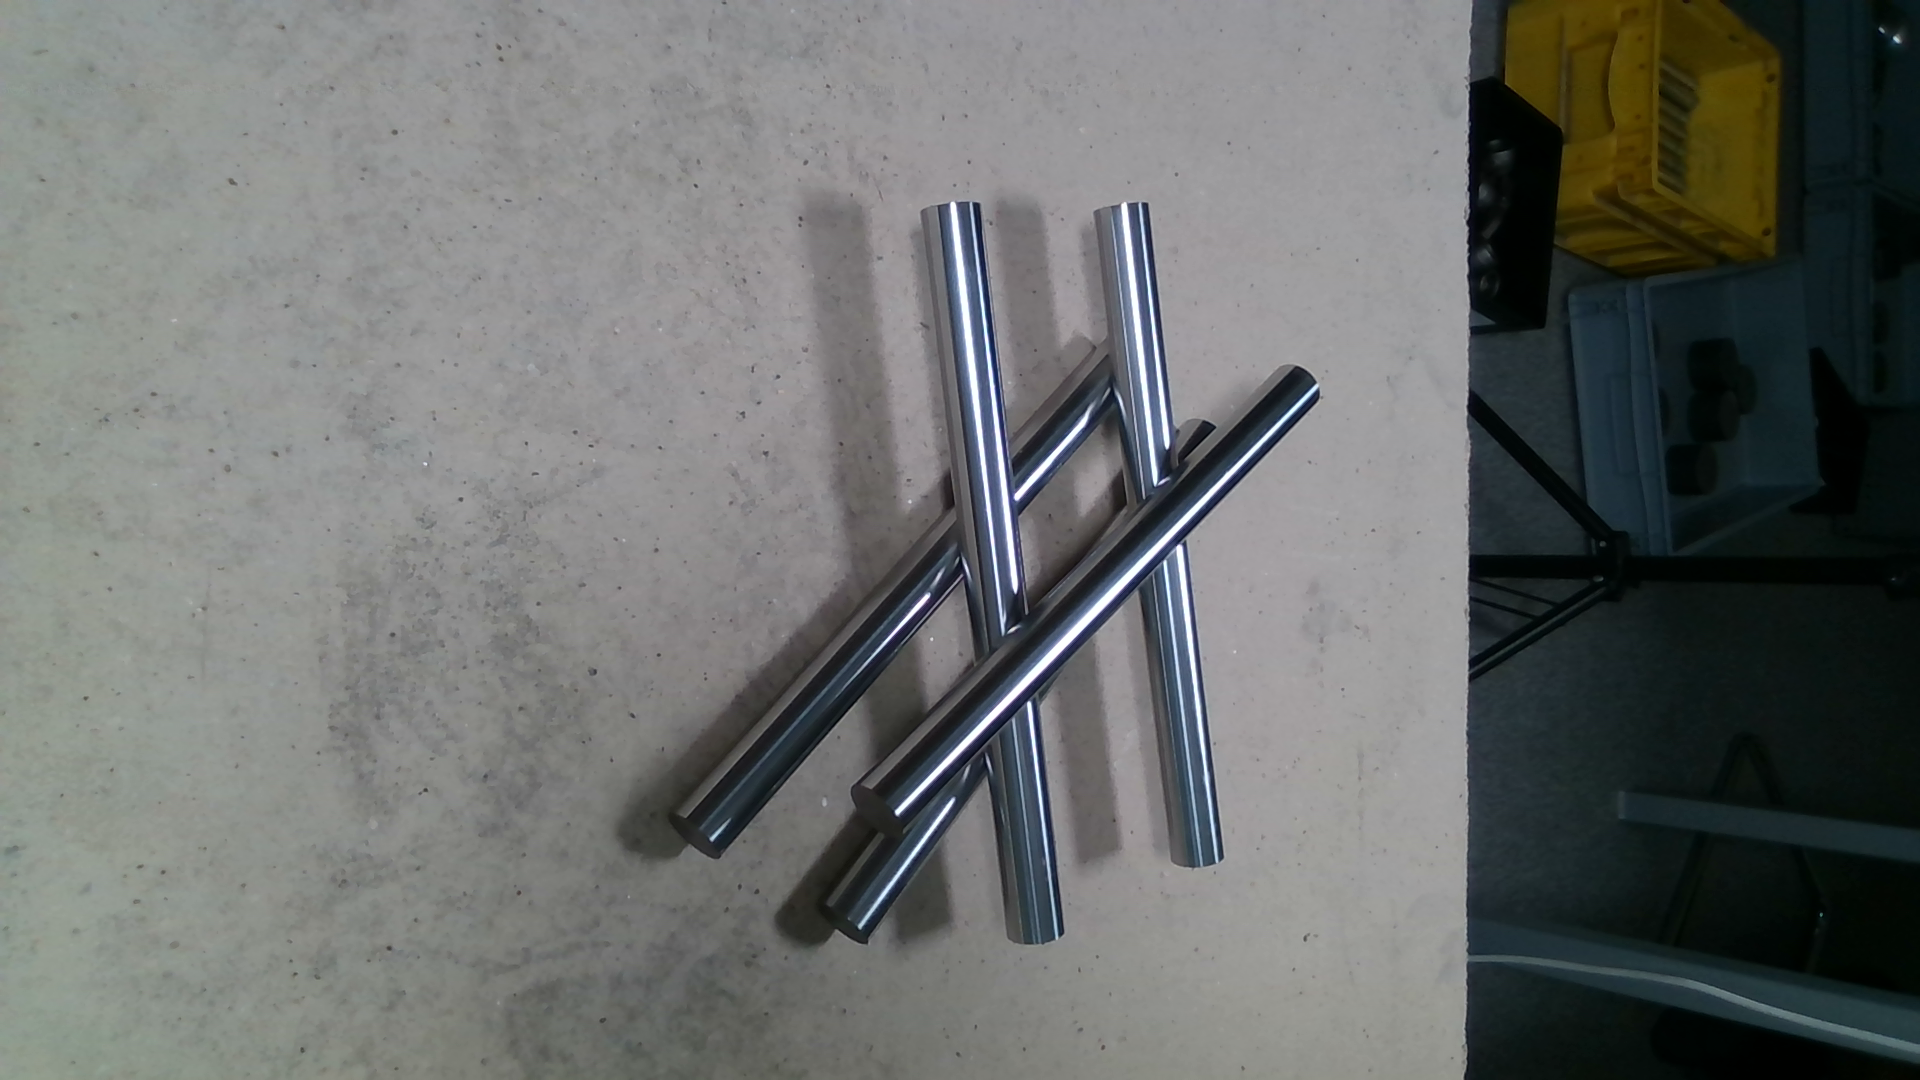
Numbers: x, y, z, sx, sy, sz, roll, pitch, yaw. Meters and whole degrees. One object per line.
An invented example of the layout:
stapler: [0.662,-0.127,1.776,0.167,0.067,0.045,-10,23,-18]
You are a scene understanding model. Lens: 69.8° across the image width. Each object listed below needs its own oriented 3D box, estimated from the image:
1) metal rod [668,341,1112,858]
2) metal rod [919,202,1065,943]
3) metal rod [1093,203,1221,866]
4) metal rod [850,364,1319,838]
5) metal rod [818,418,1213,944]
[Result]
metal rod: [-0.010,0.010,0.574,0.299,0.025,0.025,-48,119,-29]
metal rod: [0.014,0.016,0.563,0.025,0.025,0.300,-12,98,-40]
metal rod: [0.091,0.000,0.628,0.025,0.025,0.300,-13,98,-39]
metal rod: [0.064,0.012,0.572,0.299,0.025,0.025,-42,115,-32]
metal rod: [0.038,0.050,0.615,0.299,0.025,0.025,-50,120,-28]
